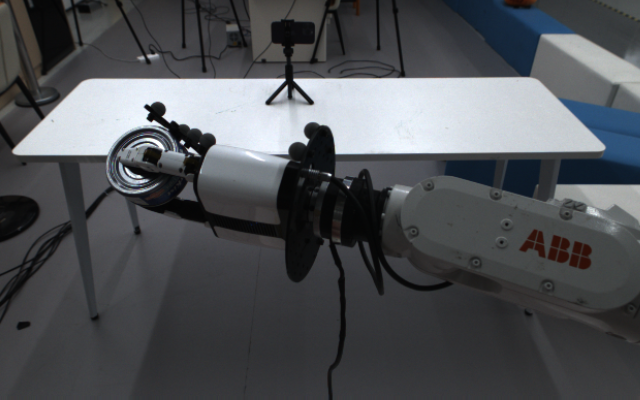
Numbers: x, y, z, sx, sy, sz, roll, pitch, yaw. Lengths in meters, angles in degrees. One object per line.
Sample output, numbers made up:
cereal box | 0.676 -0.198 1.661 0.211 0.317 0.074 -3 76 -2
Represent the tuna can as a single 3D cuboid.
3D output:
tuna can | -0.184 -0.032 0.527 0.085 0.034 0.085 -4 69 9
